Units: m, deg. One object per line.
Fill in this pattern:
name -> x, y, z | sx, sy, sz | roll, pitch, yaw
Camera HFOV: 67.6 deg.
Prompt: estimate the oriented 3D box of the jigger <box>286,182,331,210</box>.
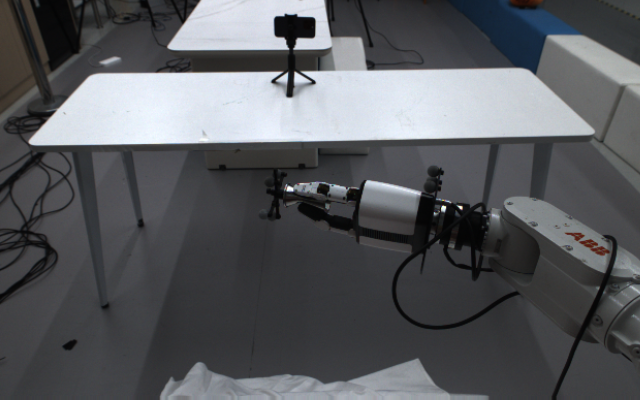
jigger -> -0.013, -0.009, 0.757 | 0.071, 0.043, 0.043 | 6, 35, 13
